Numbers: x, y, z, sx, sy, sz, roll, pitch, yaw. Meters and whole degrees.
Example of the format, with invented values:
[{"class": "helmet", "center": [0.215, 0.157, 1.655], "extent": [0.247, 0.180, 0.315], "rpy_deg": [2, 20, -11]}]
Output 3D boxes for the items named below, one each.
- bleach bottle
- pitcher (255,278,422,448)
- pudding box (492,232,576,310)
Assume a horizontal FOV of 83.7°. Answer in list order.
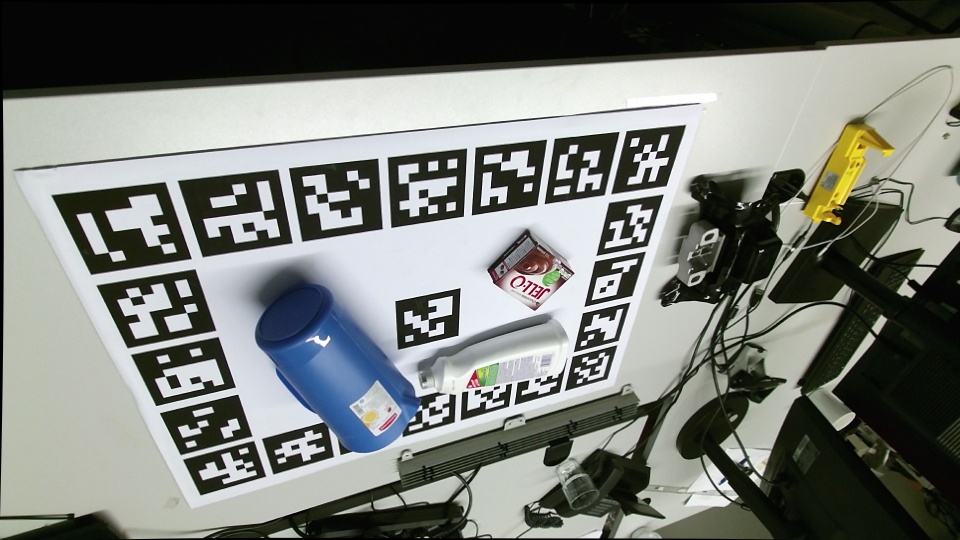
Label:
[{"class": "bleach bottle", "center": [0.029, 0.160, 0.903], "extent": [0.252, 0.067, 0.102], "rpy_deg": [-13, 124, -15]}, {"class": "pitcher", "center": [-0.205, 0.130, 0.747], "extent": [0.189, 0.133, 0.243], "rpy_deg": [-9, 131, 24]}, {"class": "pudding box", "center": [0.088, 0.004, 0.826], "extent": [0.090, 0.038, 0.114], "rpy_deg": [-42, 130, 15]}]
